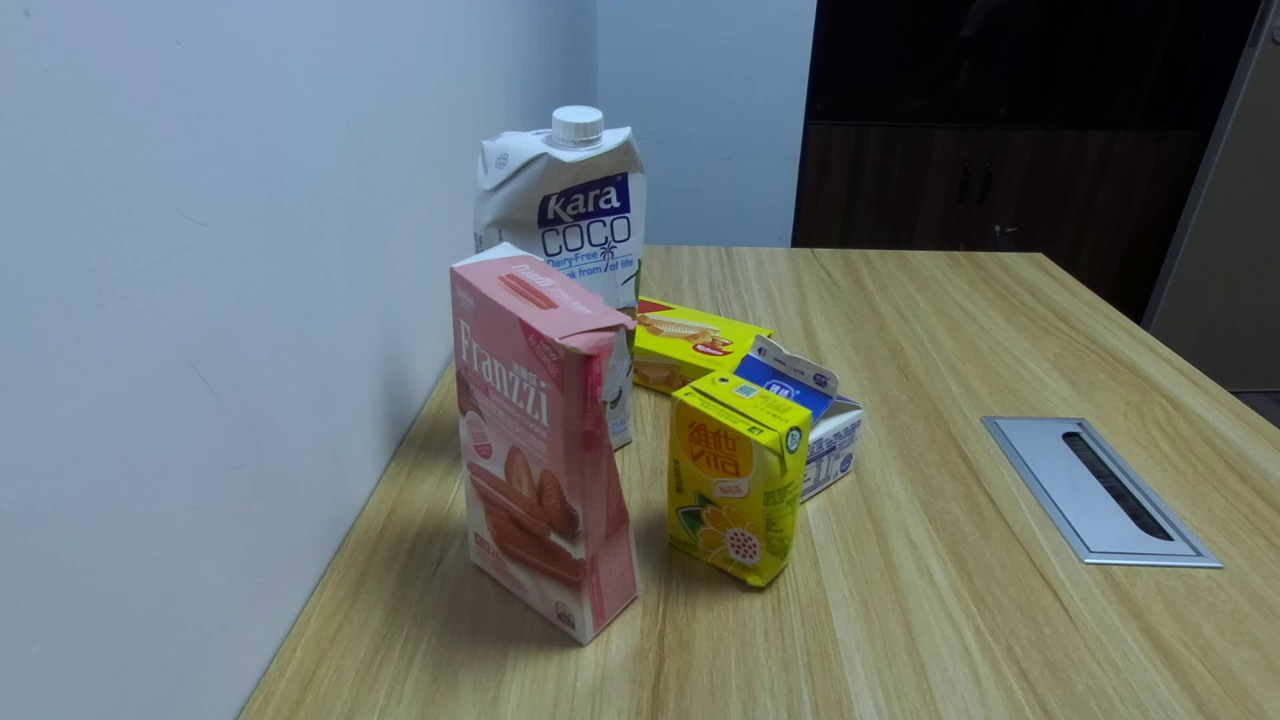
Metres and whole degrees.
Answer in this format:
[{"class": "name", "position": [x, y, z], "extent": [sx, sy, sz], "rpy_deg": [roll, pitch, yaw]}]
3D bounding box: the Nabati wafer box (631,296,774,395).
[{"class": "Nabati wafer box", "position": [0.007, -0.017, 0.628], "extent": [0.202, 0.042, 0.093], "rpy_deg": [17, 32, 27]}]

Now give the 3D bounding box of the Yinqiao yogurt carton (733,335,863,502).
[{"class": "Yinqiao yogurt carton", "position": [0.100, 0.035, 0.477], "extent": [0.074, 0.092, 0.075], "rpy_deg": [-21, 37, -36]}]

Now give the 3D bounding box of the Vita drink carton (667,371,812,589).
[{"class": "Vita drink carton", "position": [0.056, 0.070, 0.396], "extent": [0.043, 0.109, 0.076], "rpy_deg": [-25, 38, -37]}]

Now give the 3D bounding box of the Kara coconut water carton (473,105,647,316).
[{"class": "Kara coconut water carton", "position": [-0.049, -0.042, 0.468], "extent": [0.115, 0.238, 0.069], "rpy_deg": [-24, 38, -36]}]

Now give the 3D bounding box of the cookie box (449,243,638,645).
[{"class": "cookie box", "position": [-0.047, 0.048, 0.366], "extent": [0.056, 0.184, 0.118], "rpy_deg": [-24, 37, -37]}]
